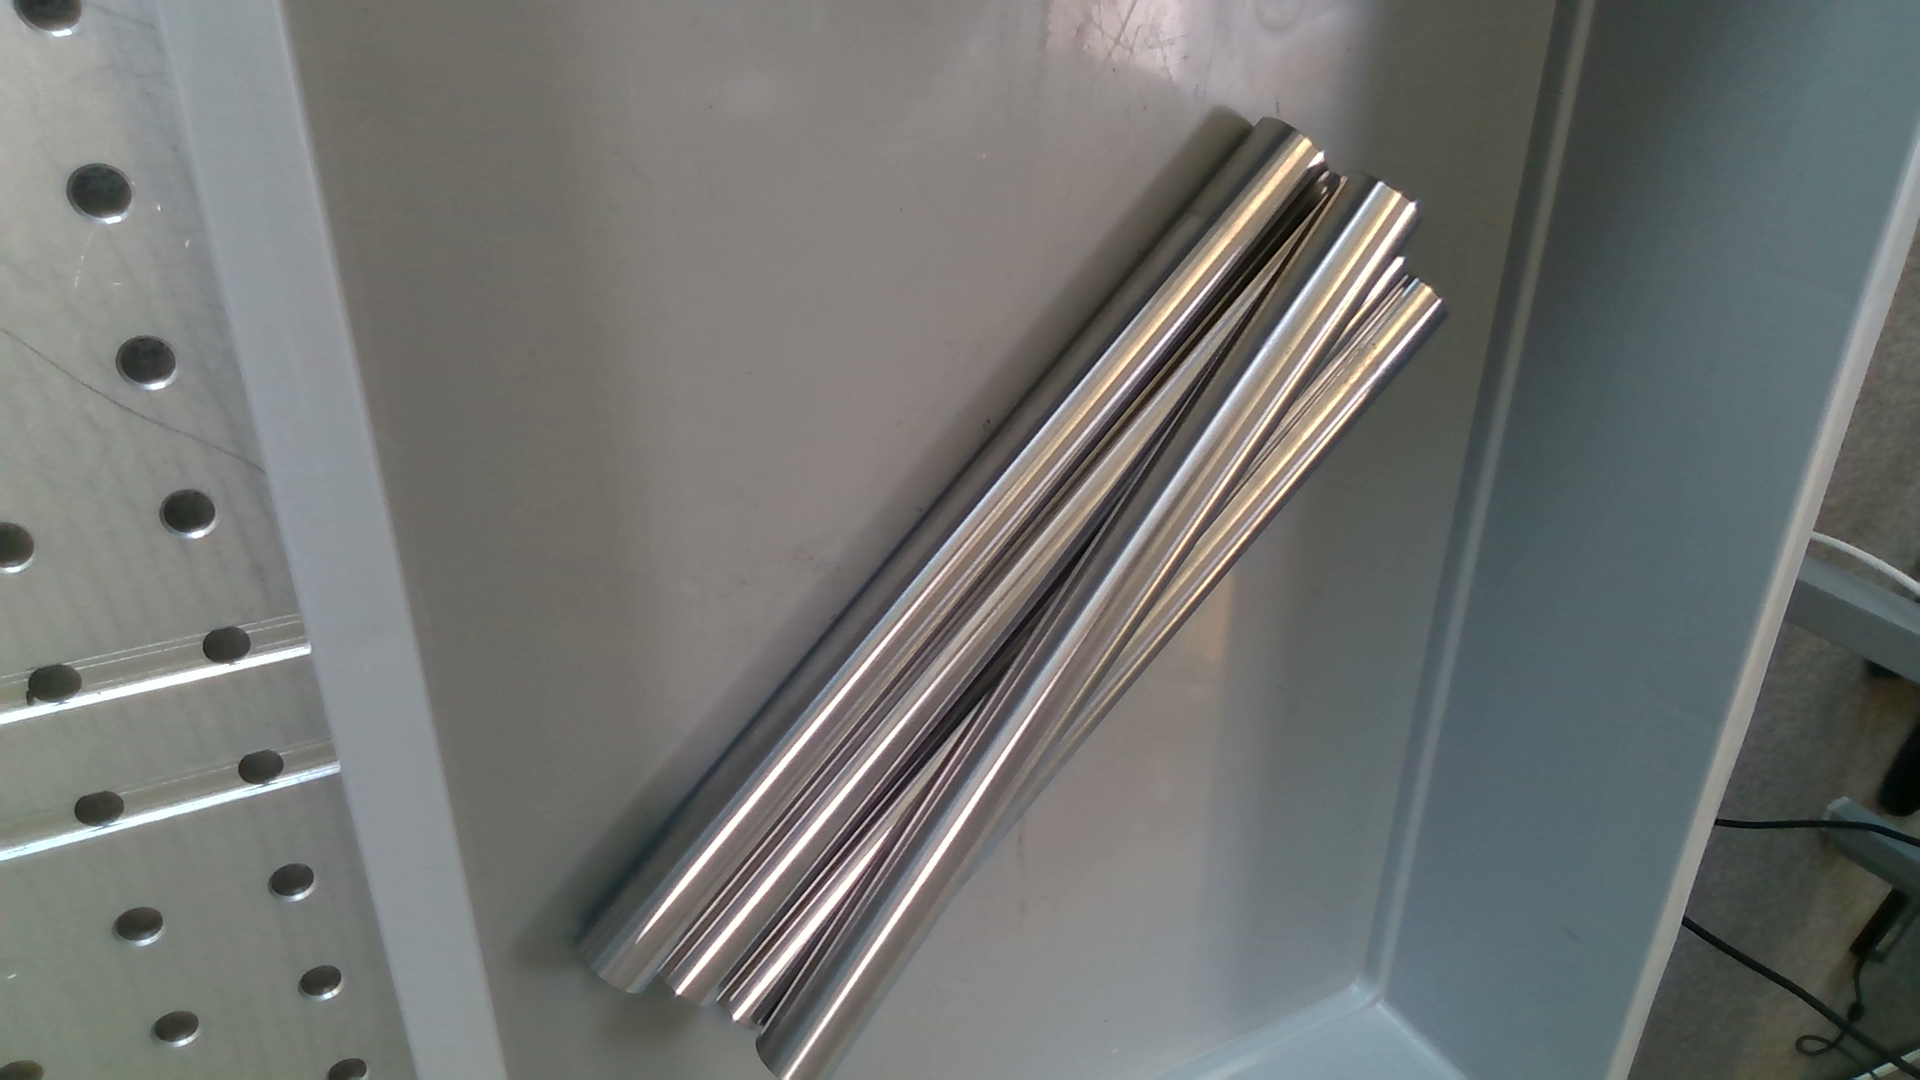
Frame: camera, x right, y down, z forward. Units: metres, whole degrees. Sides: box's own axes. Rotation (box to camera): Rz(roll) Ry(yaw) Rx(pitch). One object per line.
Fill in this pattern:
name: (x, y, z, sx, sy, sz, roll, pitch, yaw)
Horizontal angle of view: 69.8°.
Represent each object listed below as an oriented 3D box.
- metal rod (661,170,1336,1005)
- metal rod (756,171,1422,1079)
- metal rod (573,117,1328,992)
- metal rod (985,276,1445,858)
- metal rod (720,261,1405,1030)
metal rod: (0.014, 0.014, 0.405, 0.300, 0.025, 0.025, -50, 129, 1)
metal rod: (0.033, 0.031, 0.392, 0.025, 0.025, 0.300, 29, 98, -39)
metal rod: (-0.003, 0.005, 0.389, 0.300, 0.025, 0.025, -50, 129, 1)
metal rod: (0.046, 0.037, 0.437, 0.300, 0.025, 0.025, -50, 129, 1)
metal rod: (0.028, 0.027, 0.421, 0.300, 0.025, 0.025, -50, 129, 1)
